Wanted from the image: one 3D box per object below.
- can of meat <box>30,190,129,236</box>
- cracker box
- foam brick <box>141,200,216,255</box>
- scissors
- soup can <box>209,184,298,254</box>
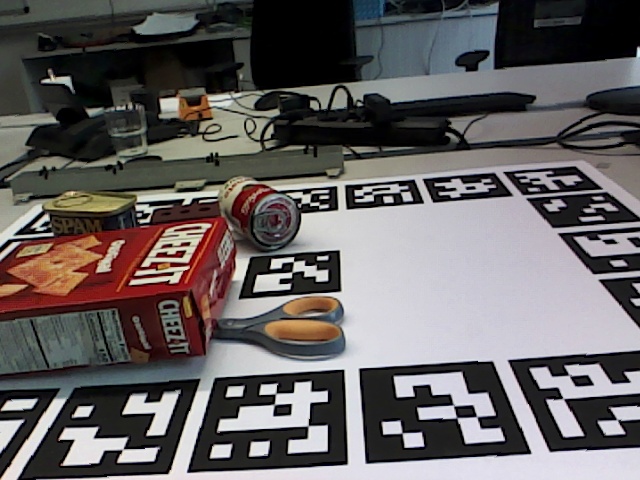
[{"bbox_3d":[-0.262,-0.007,0.695,0.102,0.083,0.058,3,27,16],"label":"can of meat"},{"bbox_3d":[-0.212,0.046,0.562,0.213,0.072,0.165,-9,25,0],"label":"cracker box"},{"bbox_3d":[-0.165,-0.010,0.726,0.078,0.051,0.053,-8,27,-6],"label":"foam brick"},{"bbox_3d":[-0.095,0.082,0.537,0.203,0.016,0.088,-6,26,-1],"label":"scissors"},{"bbox_3d":[-0.082,-0.028,0.745,0.067,0.068,0.103,-22,25,-30],"label":"soup can"}]
